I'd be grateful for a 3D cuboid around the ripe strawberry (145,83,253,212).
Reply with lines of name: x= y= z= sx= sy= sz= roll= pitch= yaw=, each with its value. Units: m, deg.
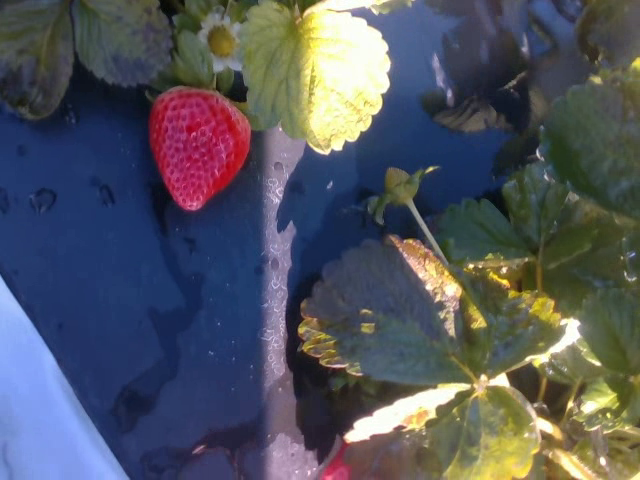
ripe strawberry: x=-0.048 y=-0.035 z=0.243 sx=0.045 sy=0.059 sz=0.042 roll=4 pitch=-14 yaw=16
